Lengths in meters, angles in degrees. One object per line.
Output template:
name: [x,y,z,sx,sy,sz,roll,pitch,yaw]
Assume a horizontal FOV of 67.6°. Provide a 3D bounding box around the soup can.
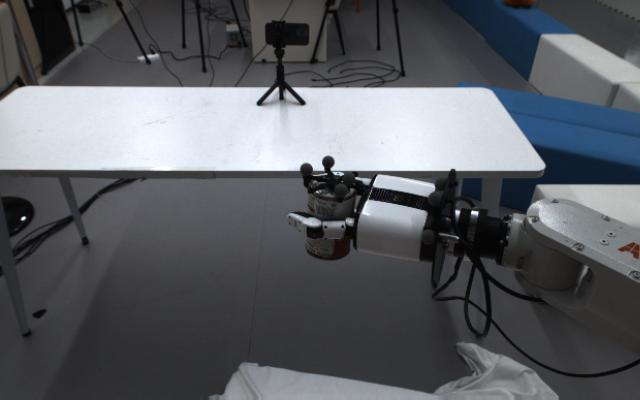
soup can: [0.015,0.025,0.677,0.067,0.101,0.067,3,30,-2]
